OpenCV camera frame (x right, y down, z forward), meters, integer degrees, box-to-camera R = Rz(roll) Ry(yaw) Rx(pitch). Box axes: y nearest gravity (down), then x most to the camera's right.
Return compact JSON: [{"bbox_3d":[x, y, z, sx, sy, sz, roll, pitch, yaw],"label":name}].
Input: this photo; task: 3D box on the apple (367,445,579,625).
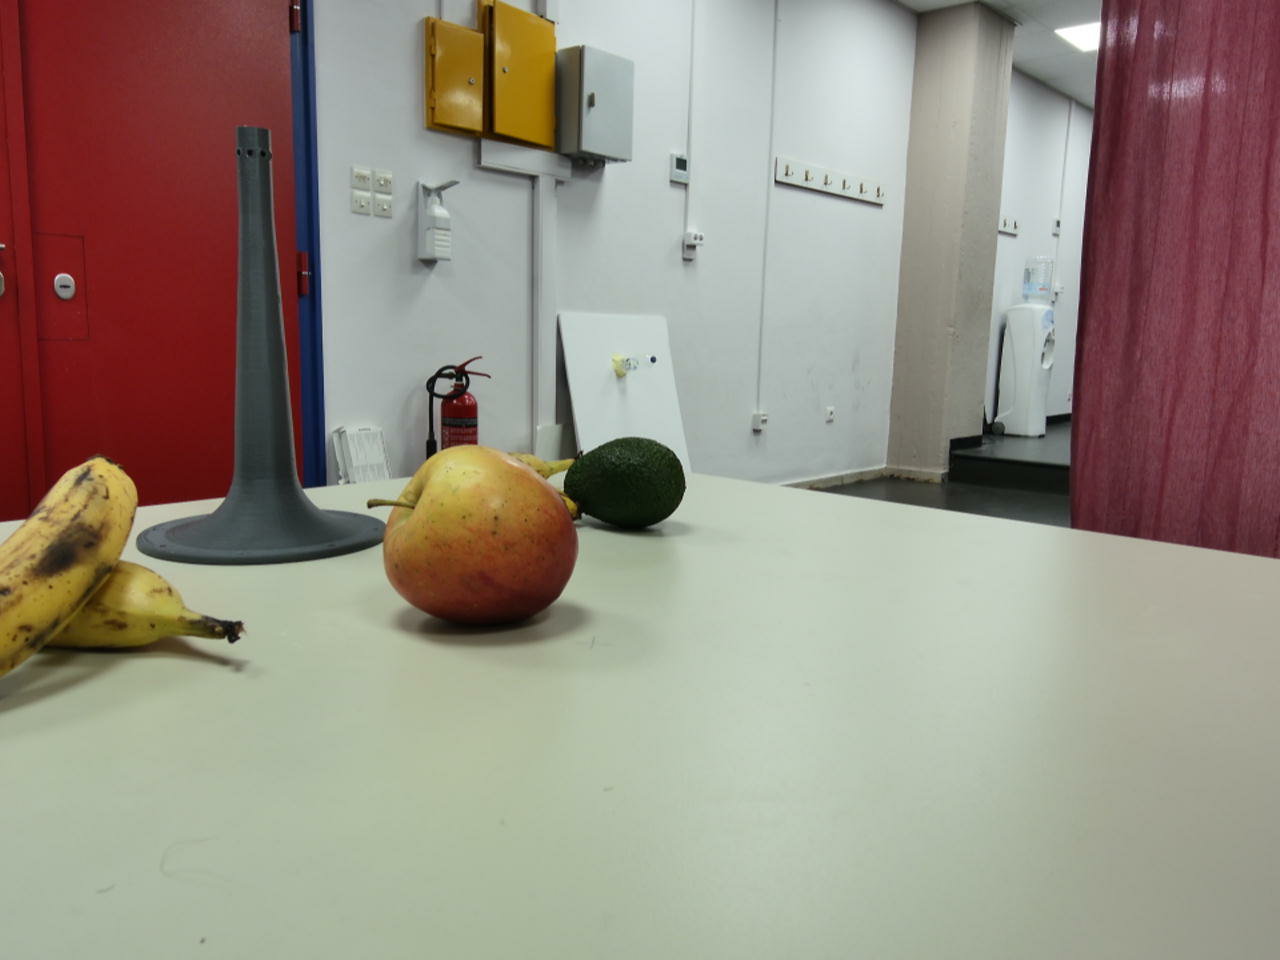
[{"bbox_3d":[-0.077,0.027,0.480,0.093,0.084,0.086,2,6,6],"label":"apple"}]
